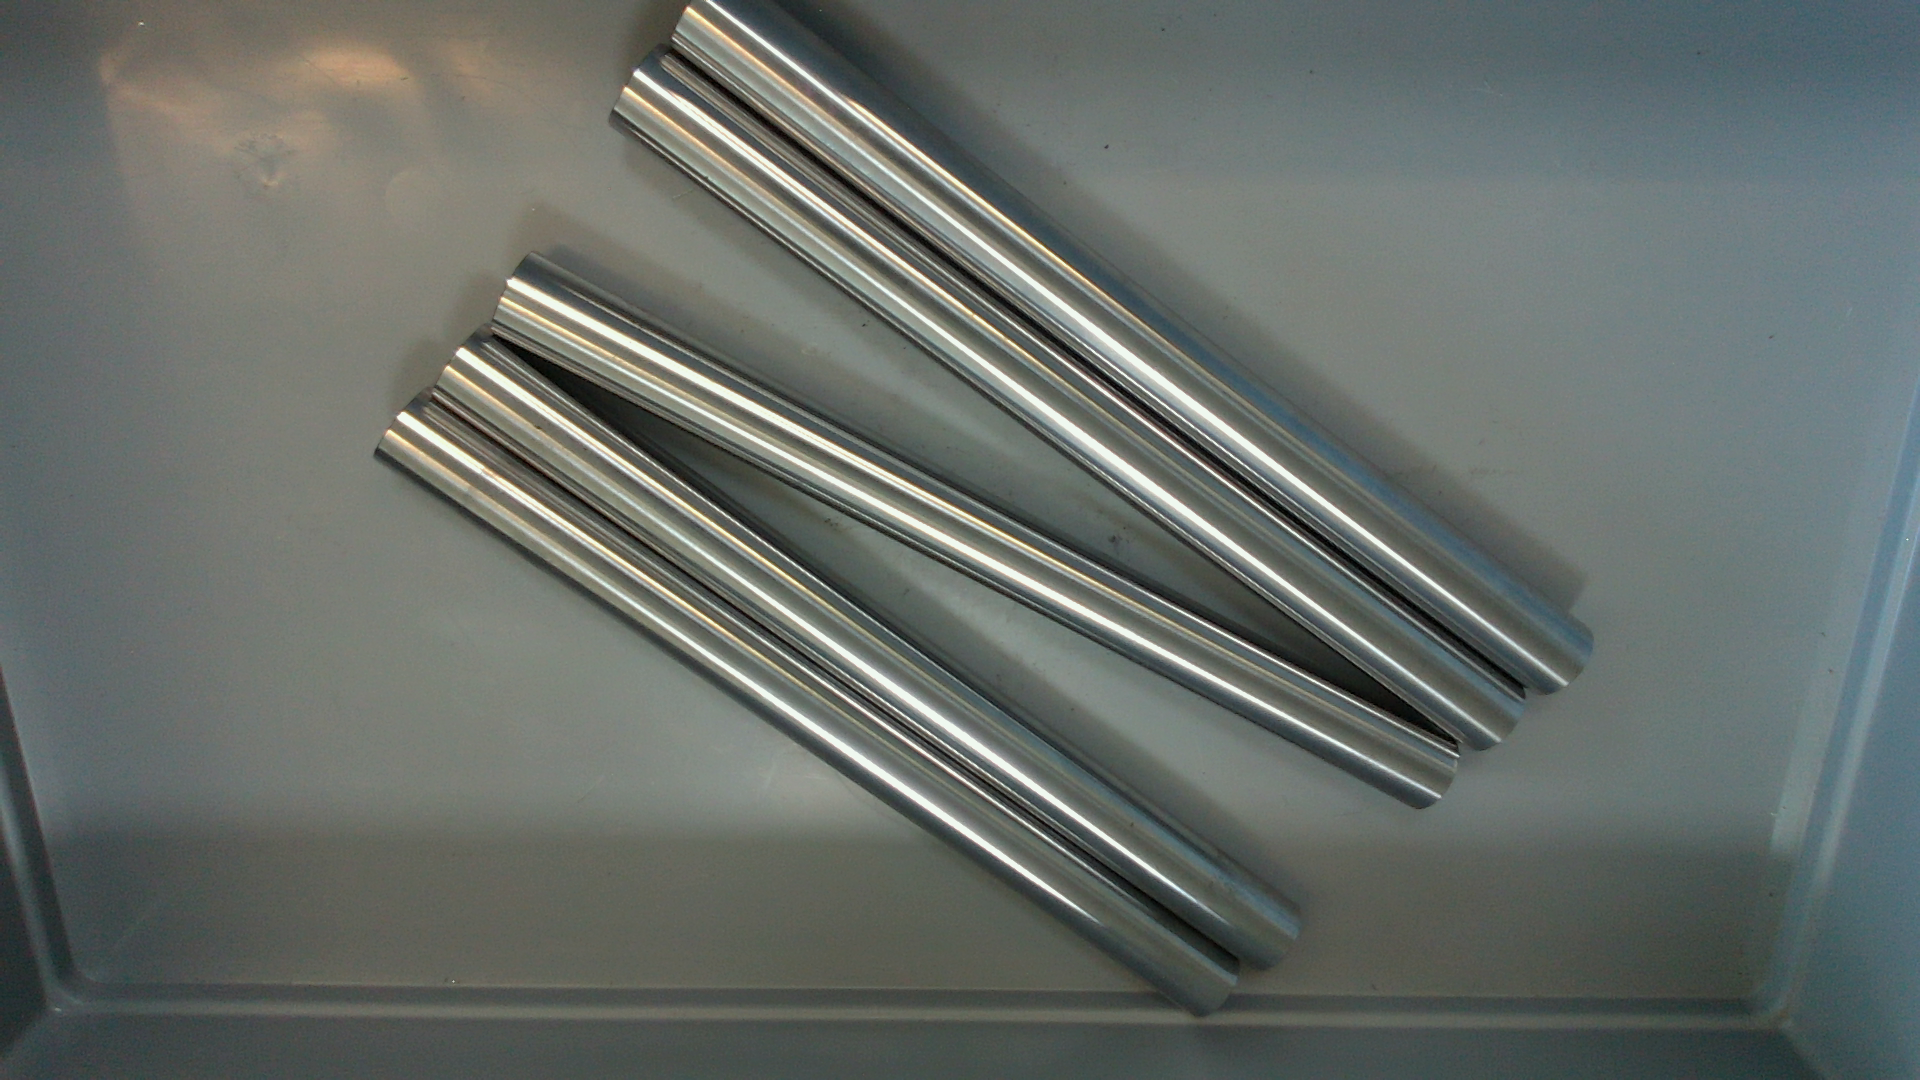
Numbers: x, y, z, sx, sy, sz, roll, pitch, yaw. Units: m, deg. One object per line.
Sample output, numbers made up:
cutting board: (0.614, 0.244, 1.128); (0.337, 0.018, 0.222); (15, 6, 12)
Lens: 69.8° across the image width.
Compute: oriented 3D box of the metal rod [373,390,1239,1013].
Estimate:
metal rod: (-0.036, 0.055, 0.413); (0.300, 0.025, 0.025); (36, 106, -13)

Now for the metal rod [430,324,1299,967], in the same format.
metal rod: (-0.018, 0.038, 0.407); (0.300, 0.025, 0.025); (36, 106, -13)

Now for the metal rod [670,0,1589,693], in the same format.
metal rod: (0.055, -0.049, 0.375); (0.300, 0.025, 0.025); (35, 106, -12)

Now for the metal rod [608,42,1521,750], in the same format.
metal rod: (0.038, -0.032, 0.381); (0.300, 0.025, 0.025); (35, 106, -12)

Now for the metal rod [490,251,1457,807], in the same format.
metal rod: (0.012, 0.002, 0.394); (0.300, 0.025, 0.025); (27, 108, -10)
